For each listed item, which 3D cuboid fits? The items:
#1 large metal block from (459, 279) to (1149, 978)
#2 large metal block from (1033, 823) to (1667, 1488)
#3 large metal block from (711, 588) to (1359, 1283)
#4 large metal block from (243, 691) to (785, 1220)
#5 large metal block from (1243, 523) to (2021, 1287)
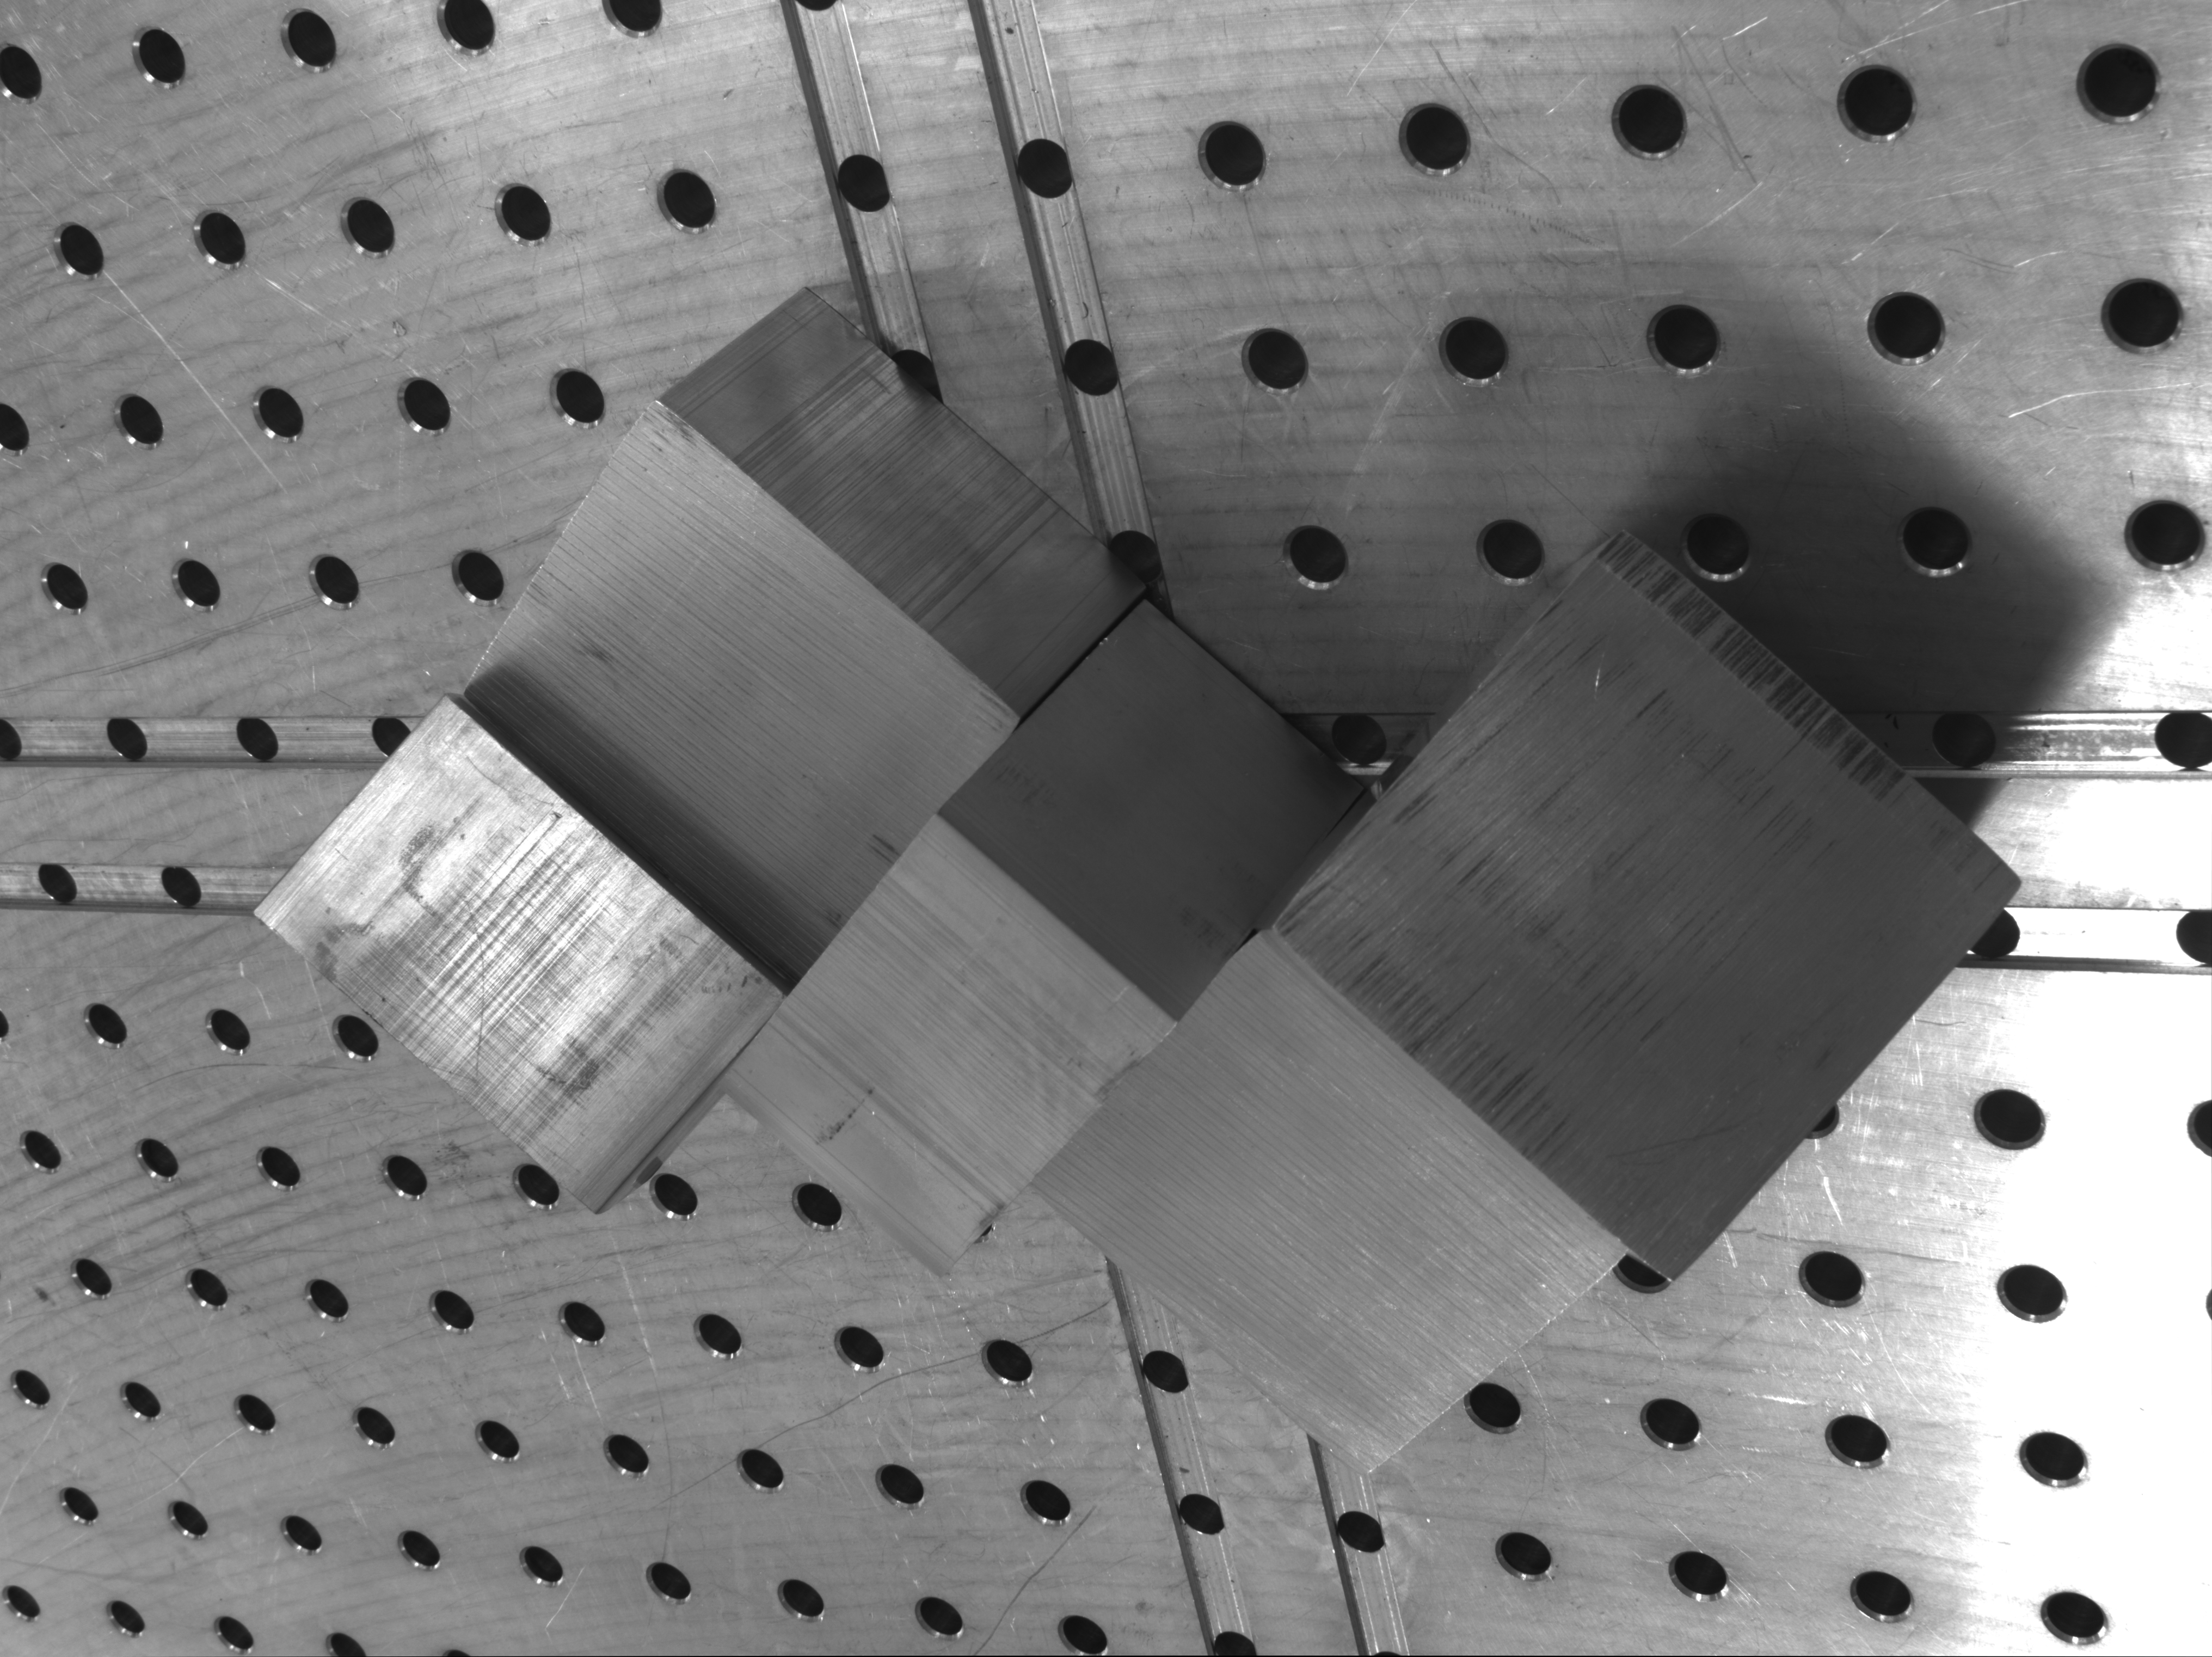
[{"bbox_3d":[-0.053,-0.033,0.638,0.080,0.050,0.080,41,131,0],"label":"large metal block"},{"bbox_3d":[0.045,0.054,0.639,0.080,0.050,0.080,43,129,1],"label":"large metal block"},{"bbox_3d":[-0.012,0.018,0.627,0.050,0.080,0.080,40,129,0],"label":"large metal block"},{"bbox_3d":[-0.101,0.022,0.669,0.080,0.080,0.050,42,90,0],"label":"large metal block"},{"bbox_3d":[0.079,0.011,0.568,0.080,0.050,0.080,41,89,0],"label":"large metal block"}]
